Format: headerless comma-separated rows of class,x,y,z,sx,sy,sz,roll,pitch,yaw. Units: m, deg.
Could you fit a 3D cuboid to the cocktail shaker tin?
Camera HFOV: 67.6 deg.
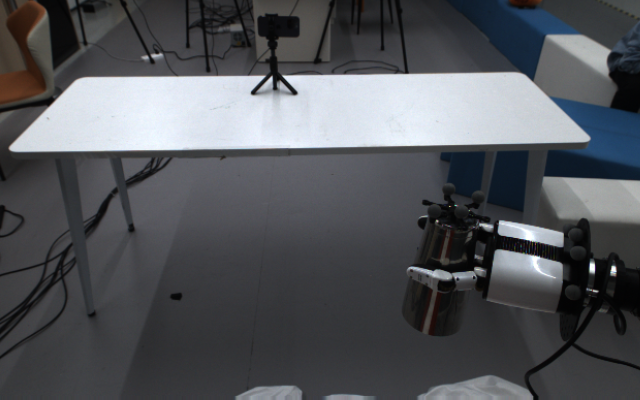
cocktail shaker tin,0.174,0.094,0.678,0.093,0.170,0.093,3,30,-1
